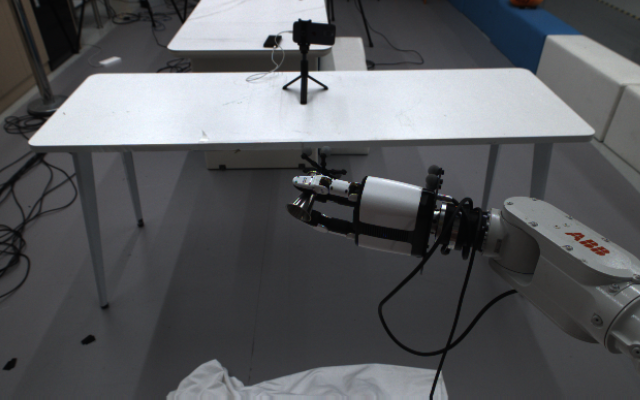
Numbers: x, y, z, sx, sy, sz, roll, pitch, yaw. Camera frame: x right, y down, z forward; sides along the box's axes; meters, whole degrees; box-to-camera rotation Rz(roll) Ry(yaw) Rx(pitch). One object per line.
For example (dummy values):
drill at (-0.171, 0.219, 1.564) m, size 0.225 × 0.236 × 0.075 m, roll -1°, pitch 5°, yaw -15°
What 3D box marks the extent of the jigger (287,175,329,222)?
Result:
jigger at (-0.019, -0.011, 0.742) m, size 0.043 × 0.043 × 0.071 m, roll 19°, pitch 61°, yaw 23°
